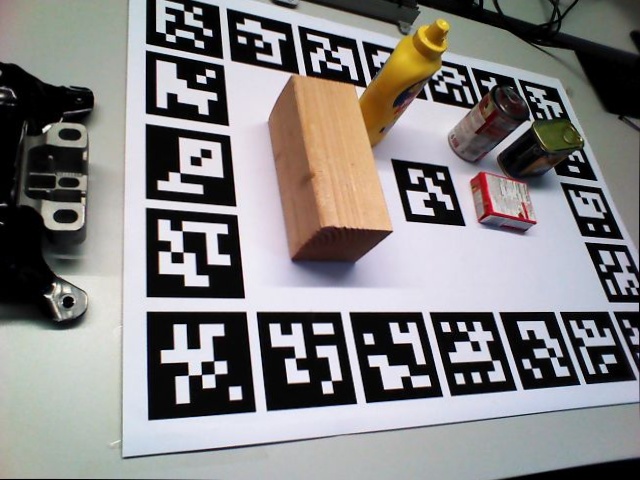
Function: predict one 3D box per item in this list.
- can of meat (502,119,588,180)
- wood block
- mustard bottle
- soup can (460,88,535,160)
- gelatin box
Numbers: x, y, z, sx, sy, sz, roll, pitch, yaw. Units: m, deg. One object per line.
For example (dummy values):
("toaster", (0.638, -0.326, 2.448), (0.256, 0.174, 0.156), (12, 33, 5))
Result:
("can of meat", (0.349, -0.140, 0.810), (0.101, 0.084, 0.057), (-11, 70, -33))
("wood block", (0.010, -0.079, 0.609), (0.091, 0.090, 0.205), (4, 58, -26))
("mustard bottle", (0.102, -0.189, 0.656), (0.095, 0.193, 0.058), (-25, 76, -35))
("soup can", (0.265, -0.173, 0.764), (0.068, 0.103, 0.067), (10, 61, -20))
("gelatin box", (0.285, -0.050, 0.757), (0.089, 0.030, 0.073), (11, 61, -17))
